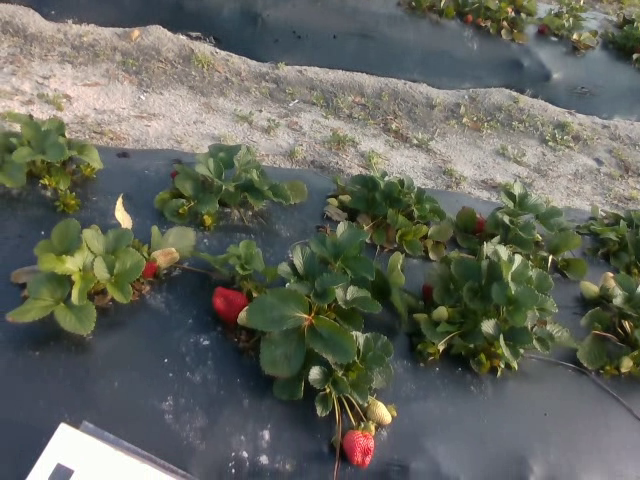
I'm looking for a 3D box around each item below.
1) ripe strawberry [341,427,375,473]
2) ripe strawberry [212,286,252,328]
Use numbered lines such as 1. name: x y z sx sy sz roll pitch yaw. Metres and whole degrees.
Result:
1. ripe strawberry: 0.056 0.287 0.851 0.048 0.050 0.034 9 -26 -11
2. ripe strawberry: -0.145 0.100 0.969 0.070 0.058 0.057 49 -26 -22
